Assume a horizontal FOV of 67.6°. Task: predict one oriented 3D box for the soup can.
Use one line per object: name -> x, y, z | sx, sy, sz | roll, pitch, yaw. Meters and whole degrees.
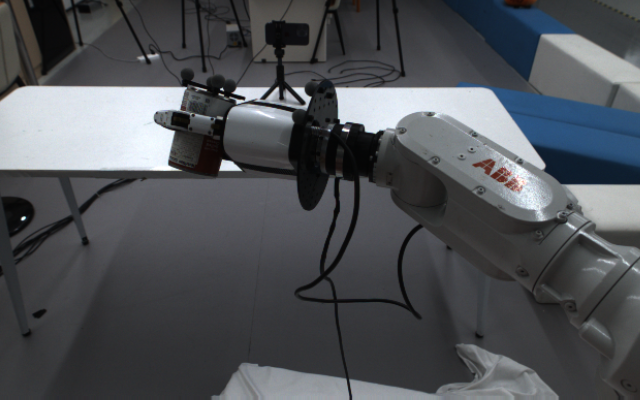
soup can -> -0.152, -0.087, 0.625 | 0.067, 0.101, 0.067 | 16, 7, -2
